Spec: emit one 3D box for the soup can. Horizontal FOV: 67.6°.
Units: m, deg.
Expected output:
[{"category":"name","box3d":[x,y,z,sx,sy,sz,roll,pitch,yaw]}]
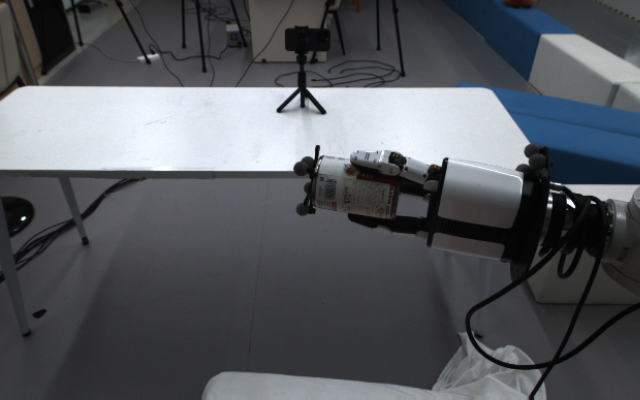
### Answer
[{"category":"soup can","box3d":[0.049,-0.016,0.594,0.101,0.067,0.067,9,35,9]}]
